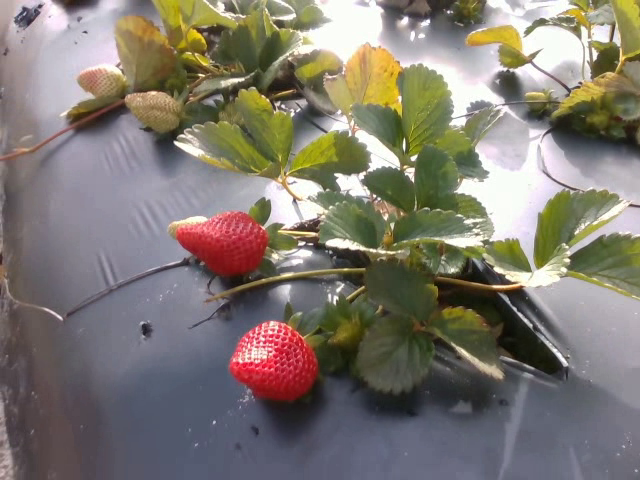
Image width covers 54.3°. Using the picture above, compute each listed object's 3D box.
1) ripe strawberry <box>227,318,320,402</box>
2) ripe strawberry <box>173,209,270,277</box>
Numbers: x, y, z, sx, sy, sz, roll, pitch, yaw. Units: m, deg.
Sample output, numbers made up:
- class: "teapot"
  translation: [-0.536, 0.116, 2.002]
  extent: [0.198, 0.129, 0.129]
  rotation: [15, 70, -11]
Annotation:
- class: "ripe strawberry"
  translation: [-0.019, 0.040, 0.206]
  extent: [0.039, 0.034, 0.037]
  rotation: [11, -43, -47]
- class: "ripe strawberry"
  translation: [-0.041, -0.002, 0.257]
  extent: [0.036, 0.041, 0.035]
  rotation: [11, 18, -29]
